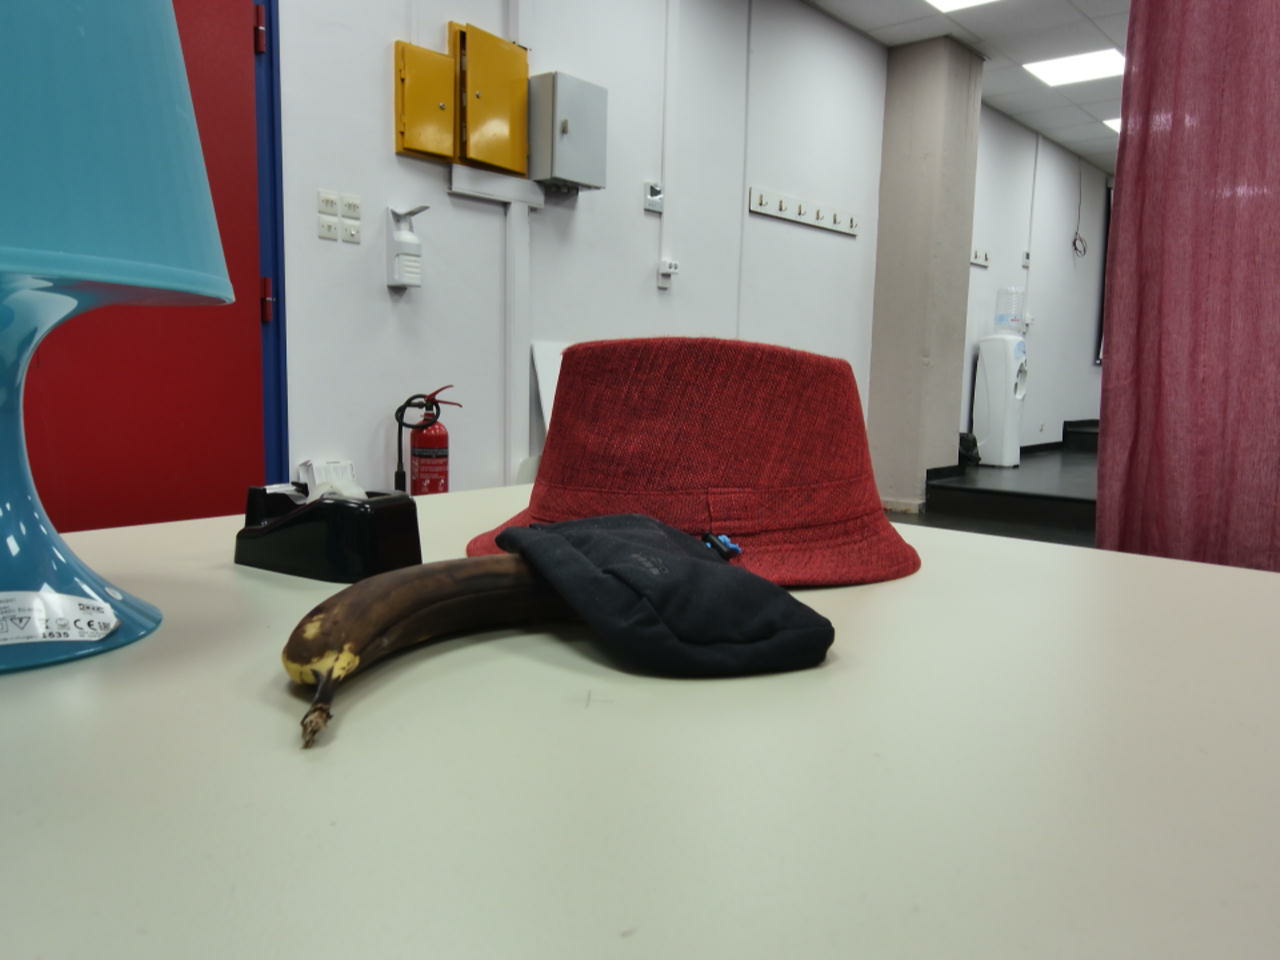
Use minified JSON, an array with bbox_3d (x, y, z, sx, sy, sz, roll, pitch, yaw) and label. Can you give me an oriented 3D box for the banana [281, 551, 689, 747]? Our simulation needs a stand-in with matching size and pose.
[{"bbox_3d":[-0.070,0.051,0.398,0.091,0.033,0.188,3,6,41],"label":"banana"}]
